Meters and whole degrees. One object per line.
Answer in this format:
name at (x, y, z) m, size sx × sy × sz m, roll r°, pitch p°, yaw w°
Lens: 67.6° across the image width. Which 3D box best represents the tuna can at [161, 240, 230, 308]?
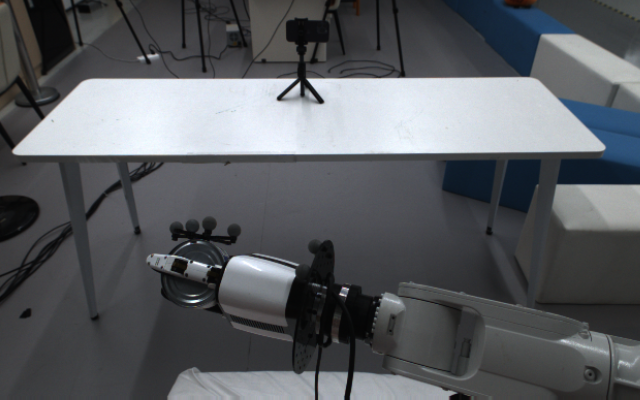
tuna can at (-0.152, 0.095, 0.610) m, size 0.085 × 0.034 × 0.085 m, roll -3°, pitch 73°, yaw 9°
